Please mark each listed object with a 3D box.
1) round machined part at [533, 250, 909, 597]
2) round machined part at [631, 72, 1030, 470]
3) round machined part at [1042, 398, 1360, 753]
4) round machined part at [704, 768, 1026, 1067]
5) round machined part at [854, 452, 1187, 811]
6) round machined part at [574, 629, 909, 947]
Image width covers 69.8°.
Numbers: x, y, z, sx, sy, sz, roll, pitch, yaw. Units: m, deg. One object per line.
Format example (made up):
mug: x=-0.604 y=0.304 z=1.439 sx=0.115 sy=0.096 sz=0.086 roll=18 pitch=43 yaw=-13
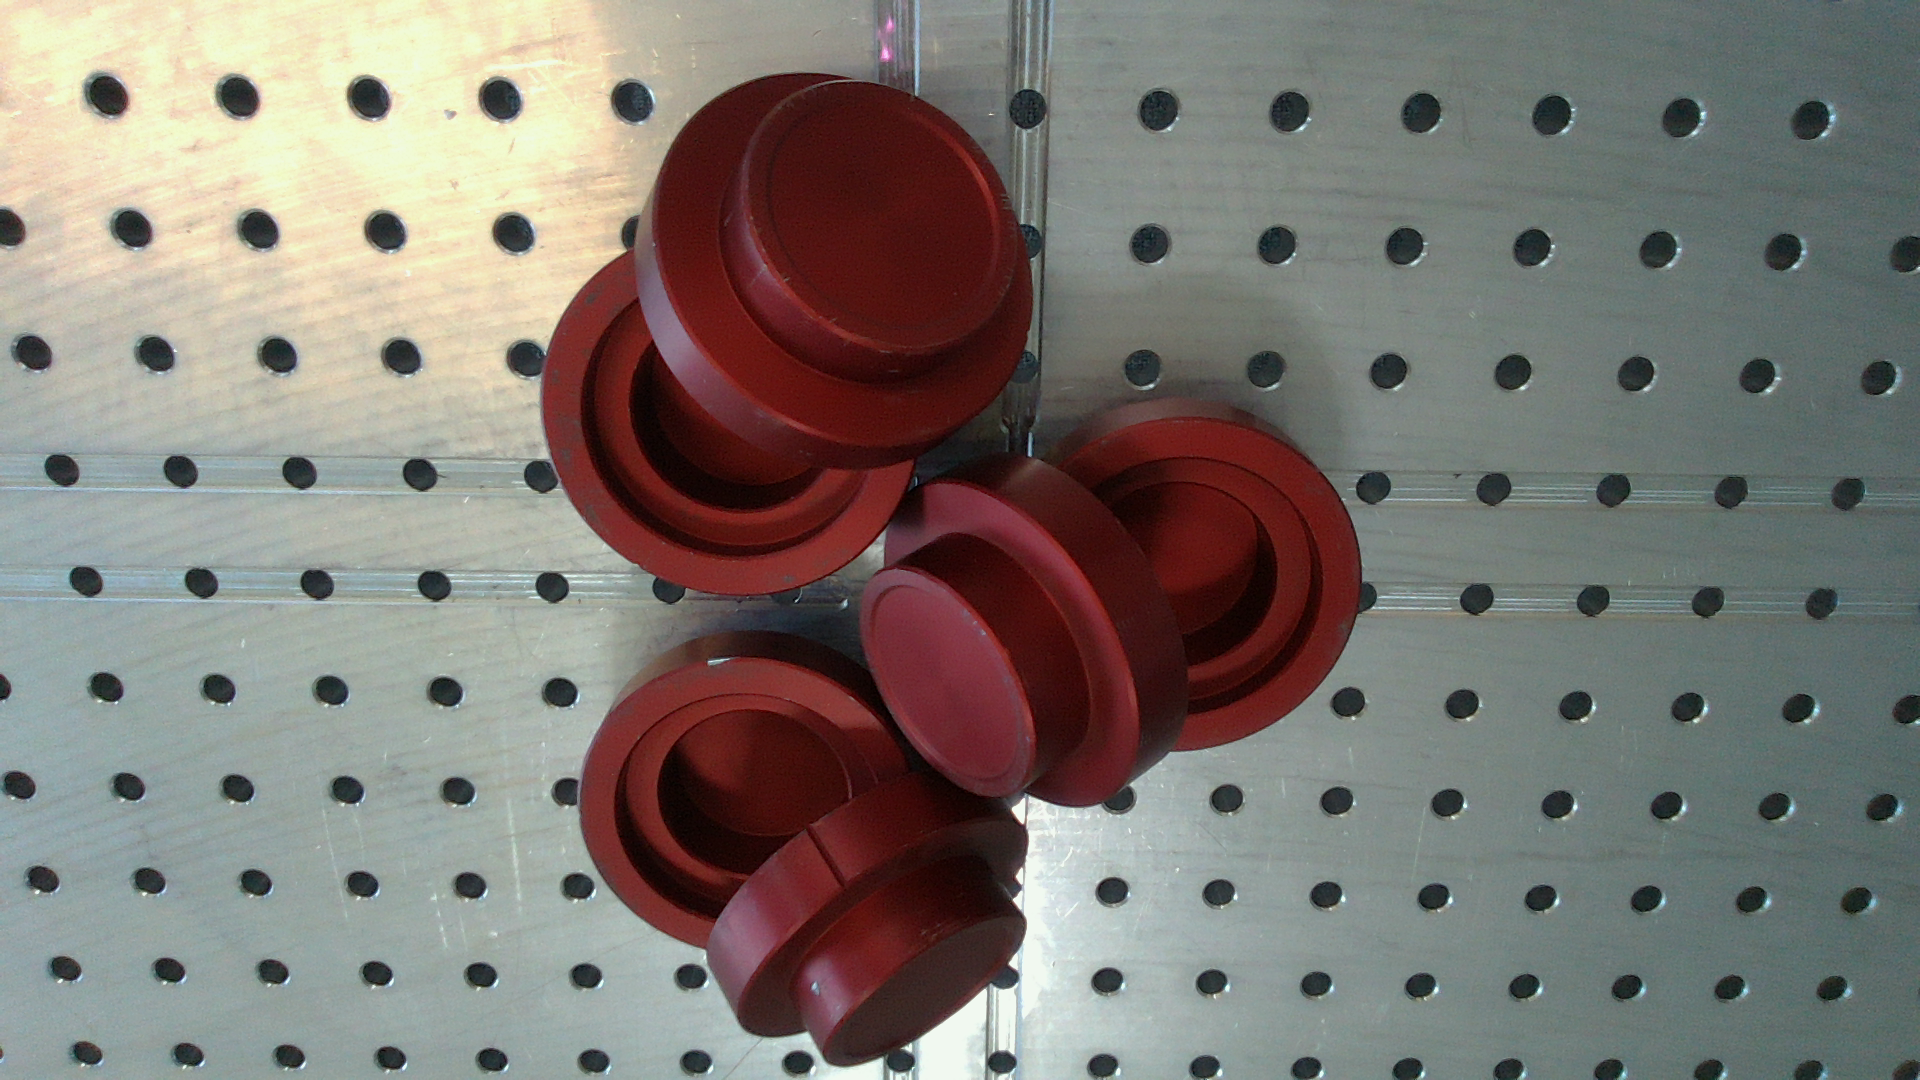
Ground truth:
round machined part: x=-0.060 y=-0.037 z=0.372 sx=0.098 sy=0.042 sz=0.098 roll=0 pitch=110 yaw=0
round machined part: x=-0.026 y=-0.070 z=0.332 sx=0.098 sy=0.042 sz=0.098 roll=8 pitch=71 yaw=-24
round machined part: x=0.059 y=0.007 z=0.390 sx=0.098 sy=0.042 sz=0.098 roll=0 pitch=110 yaw=0
round machined part: x=-0.020 y=0.114 z=0.398 sx=0.098 sy=0.042 sz=0.098 roll=-28 pitch=148 yaw=-19
round machined part: x=0.009 y=0.030 z=0.366 sx=0.042 sy=0.098 sz=0.098 roll=-29 pitch=114 yaw=-34
round machined part: x=-0.061 y=0.071 z=0.413 sx=0.098 sy=0.042 sz=0.098 roll=0 pitch=110 yaw=0
